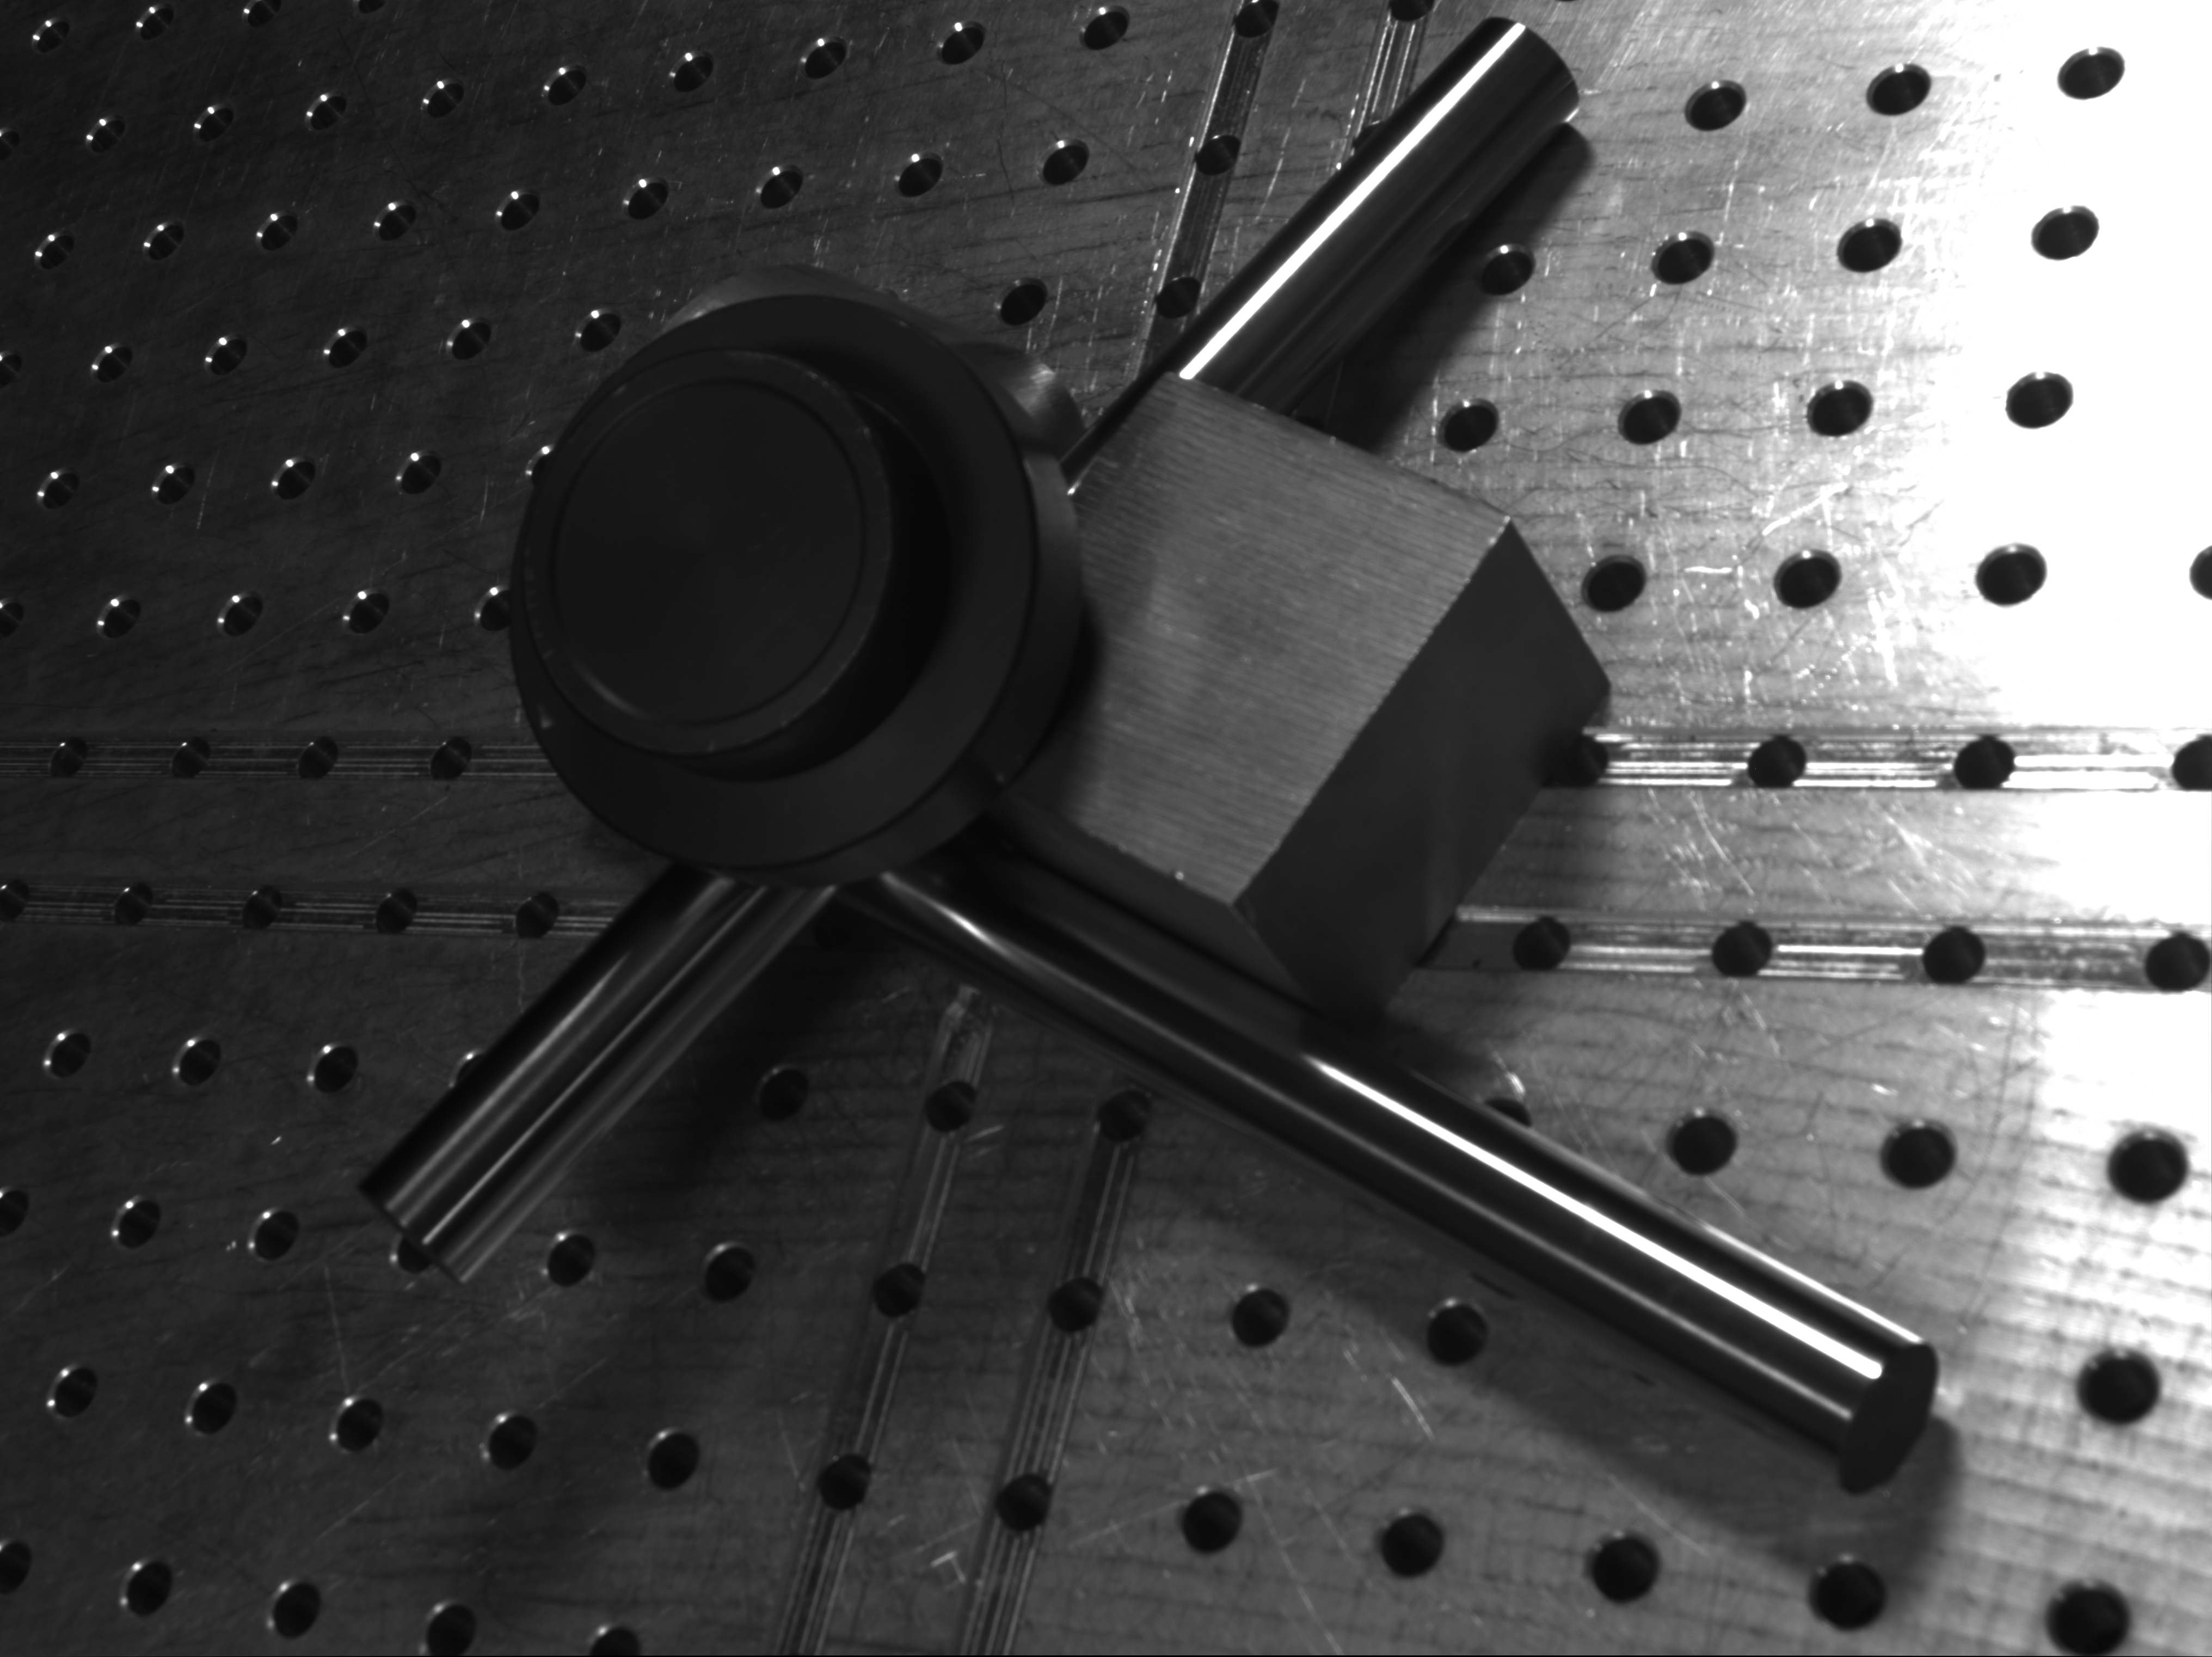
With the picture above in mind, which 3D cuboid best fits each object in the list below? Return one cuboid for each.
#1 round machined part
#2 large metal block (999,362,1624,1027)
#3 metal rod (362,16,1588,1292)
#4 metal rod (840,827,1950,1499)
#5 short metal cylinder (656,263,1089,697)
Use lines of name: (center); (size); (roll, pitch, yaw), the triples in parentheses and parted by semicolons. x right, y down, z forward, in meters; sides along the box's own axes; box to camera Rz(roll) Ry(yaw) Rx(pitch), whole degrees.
round machined part: (-0.055, -0.041, 0.607); (0.098, 0.042, 0.098); (-4, 80, 21)
large metal block: (0.027, -0.022, 0.626); (0.080, 0.050, 0.080); (29, 77, 38)
metal rod: (-0.018, -0.037, 0.655); (0.025, 0.025, 0.300); (31, 72, 38)
metal rod: (0.010, 0.031, 0.622); (0.299, 0.025, 0.025); (28, 77, 37)
short metal cylinder: (-0.047, -0.058, 0.672); (0.050, 0.080, 0.080); (28, 77, 37)
